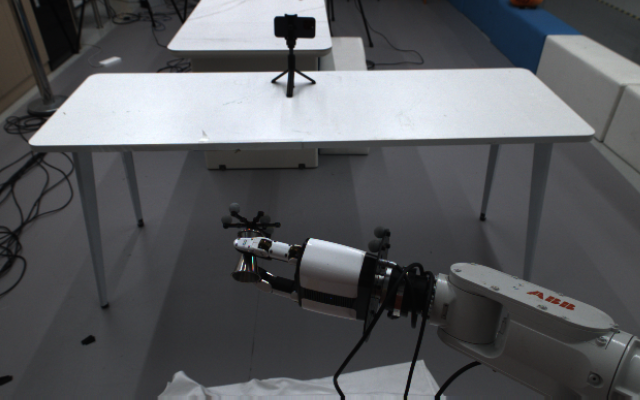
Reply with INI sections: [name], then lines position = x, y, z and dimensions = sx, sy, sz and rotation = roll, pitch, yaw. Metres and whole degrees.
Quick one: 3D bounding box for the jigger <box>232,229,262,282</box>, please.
[jigger]
position = -0.106, 0.079, 0.711
dimensions = 0.043, 0.043, 0.071
rotation = 2, 59, 0
